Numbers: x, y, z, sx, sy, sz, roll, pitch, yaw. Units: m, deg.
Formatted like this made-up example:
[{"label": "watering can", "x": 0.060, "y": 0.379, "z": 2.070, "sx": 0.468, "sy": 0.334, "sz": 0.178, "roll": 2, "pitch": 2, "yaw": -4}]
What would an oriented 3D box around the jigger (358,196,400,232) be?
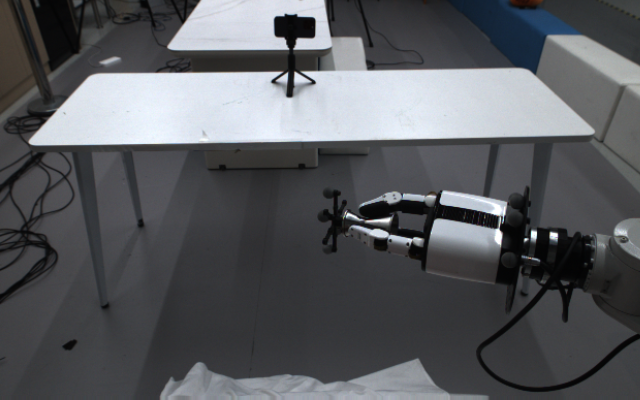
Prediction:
[{"label": "jigger", "x": 0.074, "y": 0.032, "z": 0.658, "sx": 0.071, "sy": 0.043, "sz": 0.043, "roll": 6, "pitch": 34, "yaw": 22}]
